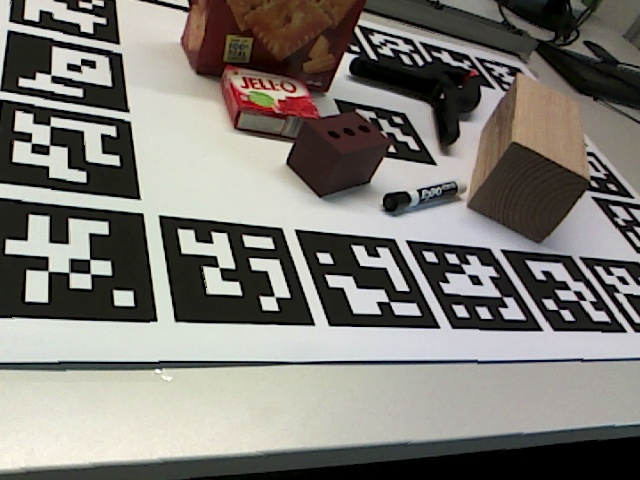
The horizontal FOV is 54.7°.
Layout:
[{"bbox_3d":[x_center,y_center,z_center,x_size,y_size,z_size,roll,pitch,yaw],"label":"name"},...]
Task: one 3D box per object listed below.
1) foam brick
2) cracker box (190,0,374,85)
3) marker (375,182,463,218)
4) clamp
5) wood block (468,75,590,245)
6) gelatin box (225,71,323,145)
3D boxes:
[{"bbox_3d":[0.018,-0.078,0.585,0.077,0.051,0.053,-20,62,-42],"label":"foam brick"},{"bbox_3d":[-0.022,-0.272,0.632,0.163,0.214,0.072,2,46,-31],"label":"cracker box"},{"bbox_3d":[0.100,-0.041,0.616,0.120,0.019,0.020,-15,58,-40],"label":"marker"},{"bbox_3d":[0.154,-0.198,0.801,0.166,0.037,0.202,45,43,17],"label":"clamp"},{"bbox_3d":[0.237,-0.100,0.710,0.090,0.091,0.206,26,37,1],"label":"wood block"},{"bbox_3d":[-0.045,-0.133,0.627,0.089,0.030,0.073,3,48,-27],"label":"gelatin box"}]
